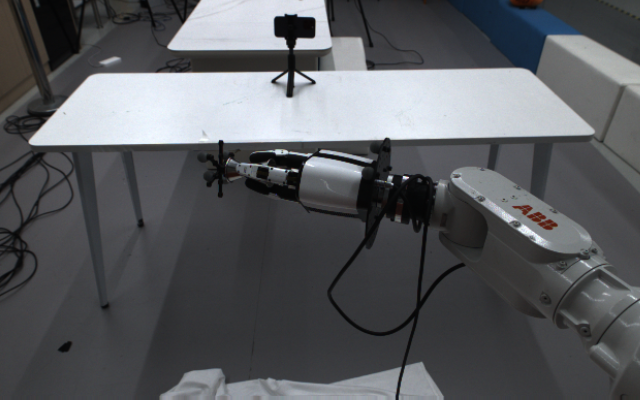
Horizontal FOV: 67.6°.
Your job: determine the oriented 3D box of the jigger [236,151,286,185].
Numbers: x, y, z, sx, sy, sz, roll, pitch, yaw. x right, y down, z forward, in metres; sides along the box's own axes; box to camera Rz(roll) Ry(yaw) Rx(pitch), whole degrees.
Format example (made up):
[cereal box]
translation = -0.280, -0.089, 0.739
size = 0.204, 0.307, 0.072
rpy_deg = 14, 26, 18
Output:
[jigger]
translation = -0.098, -0.048, 0.738
size = 0.071, 0.043, 0.043
rpy_deg = 5, 34, 16
